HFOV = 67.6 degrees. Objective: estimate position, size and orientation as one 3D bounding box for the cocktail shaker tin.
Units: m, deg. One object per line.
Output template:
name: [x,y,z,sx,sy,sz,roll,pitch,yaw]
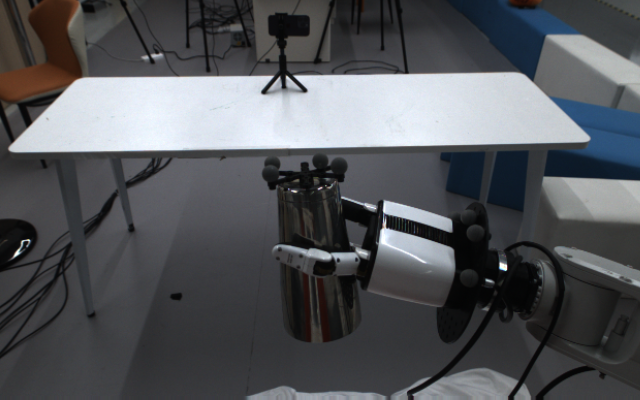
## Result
cocktail shaker tin: [-0.004,0.061,0.540,0.093,0.170,0.093,-6,19,2]
